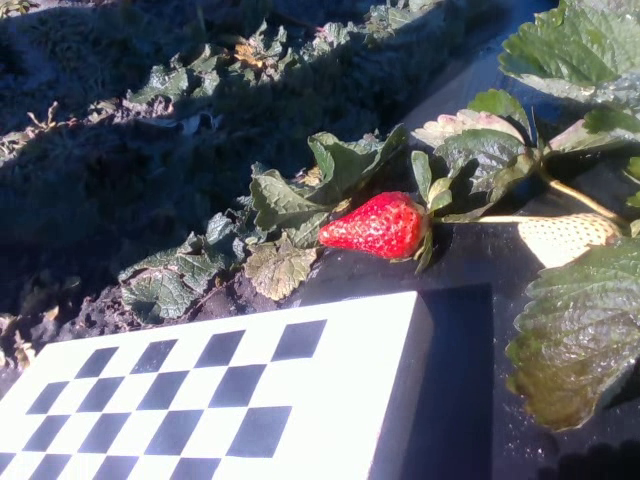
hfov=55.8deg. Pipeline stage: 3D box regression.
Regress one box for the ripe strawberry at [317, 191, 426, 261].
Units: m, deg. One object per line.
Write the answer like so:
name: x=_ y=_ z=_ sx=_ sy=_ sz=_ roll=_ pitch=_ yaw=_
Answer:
ripe strawberry: x=0.028 y=-0.007 z=0.322 sx=0.068 sy=0.040 sz=0.048 roll=-17 pitch=31 yaw=13
